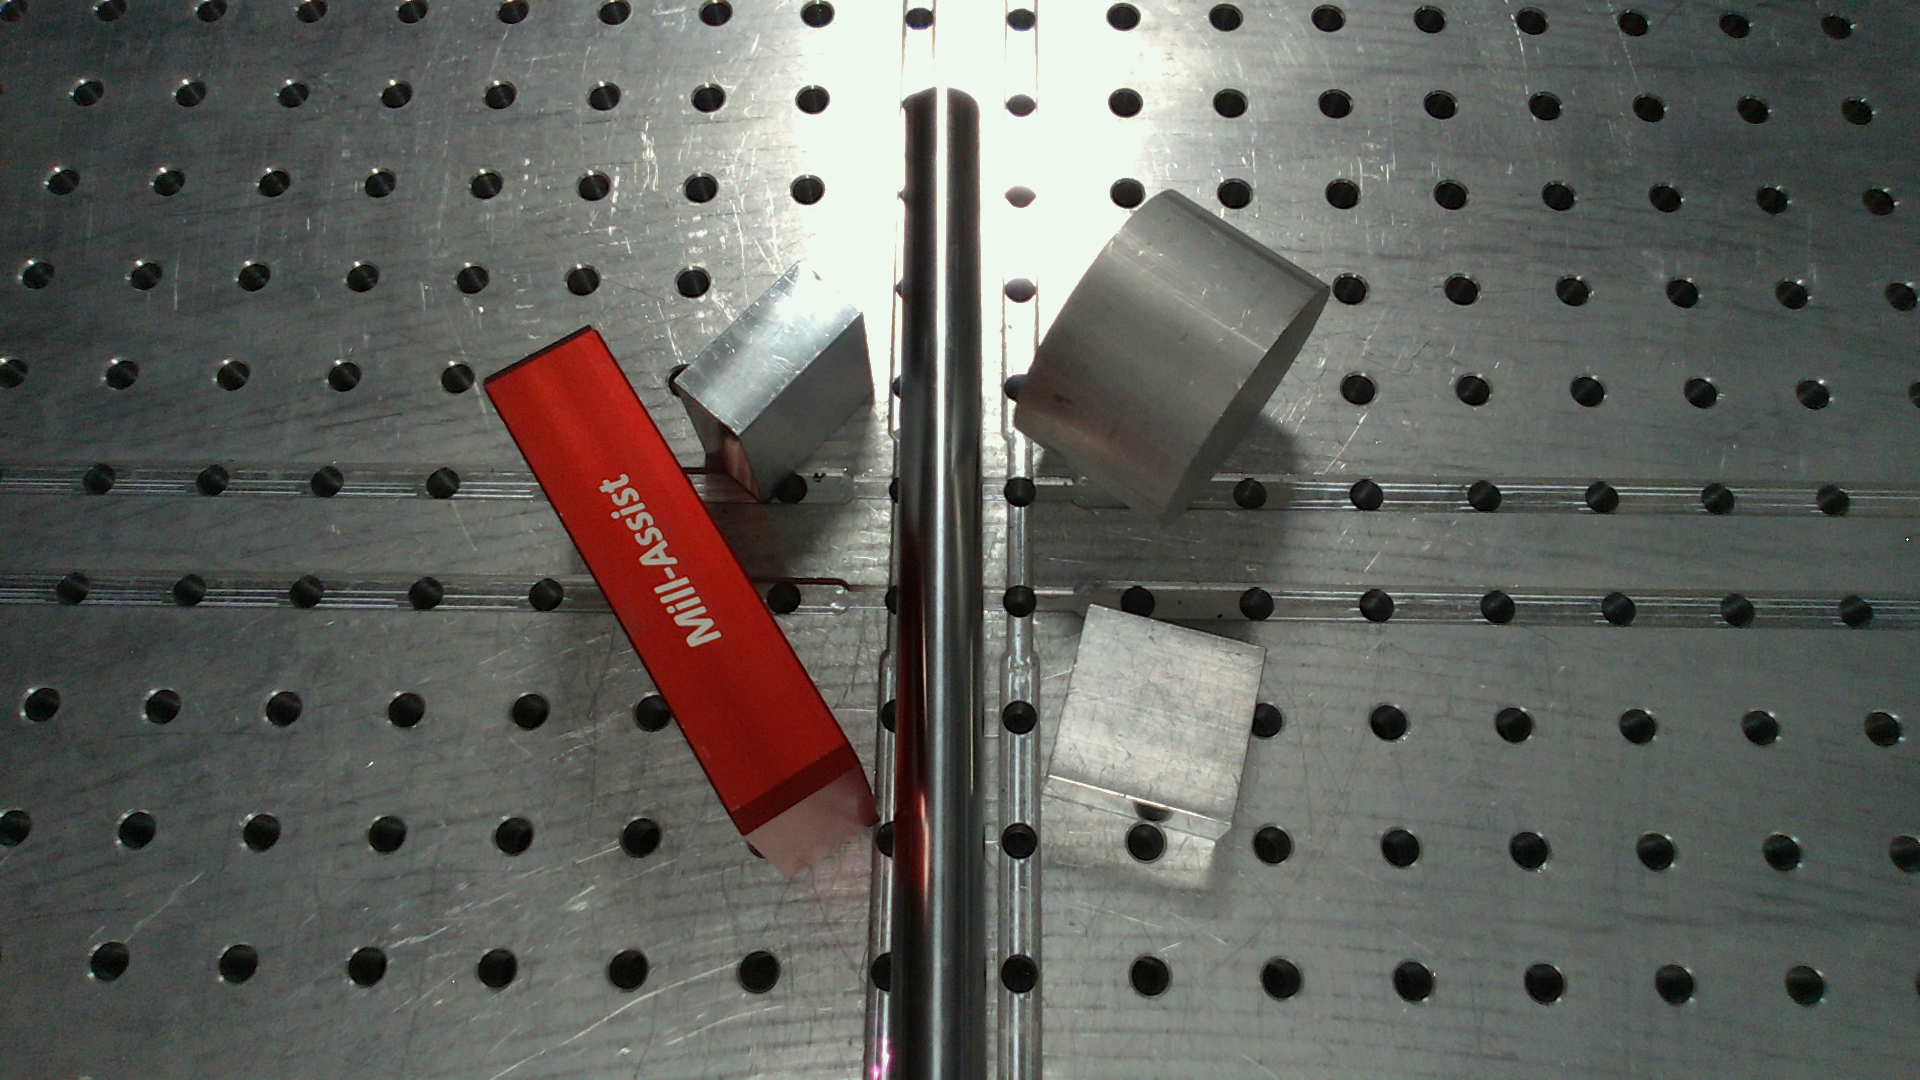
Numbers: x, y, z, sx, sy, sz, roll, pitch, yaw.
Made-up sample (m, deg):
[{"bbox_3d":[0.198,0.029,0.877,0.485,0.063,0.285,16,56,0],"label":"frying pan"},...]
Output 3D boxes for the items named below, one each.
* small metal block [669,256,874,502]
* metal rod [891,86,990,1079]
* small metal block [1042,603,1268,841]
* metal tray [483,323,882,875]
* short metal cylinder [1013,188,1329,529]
[{"bbox_3d":[-0.053,-0.046,0.399,0.025,0.050,0.050,39,75,13],"label":"small metal block"},{"bbox_3d":[-0.005,0.001,0.396,0.025,0.025,0.300,0,70,0],"label":"metal rod"},{"bbox_3d":[0.053,0.050,0.379,0.050,0.025,0.050,14,71,5],"label":"small metal block"},{"bbox_3d":[-0.069,0.019,0.355,0.030,0.090,0.130,-31,73,-10],"label":"metal tray"},{"bbox_3d":[0.059,-0.050,0.386,0.050,0.080,0.080,36,74,12],"label":"short metal cylinder"}]
